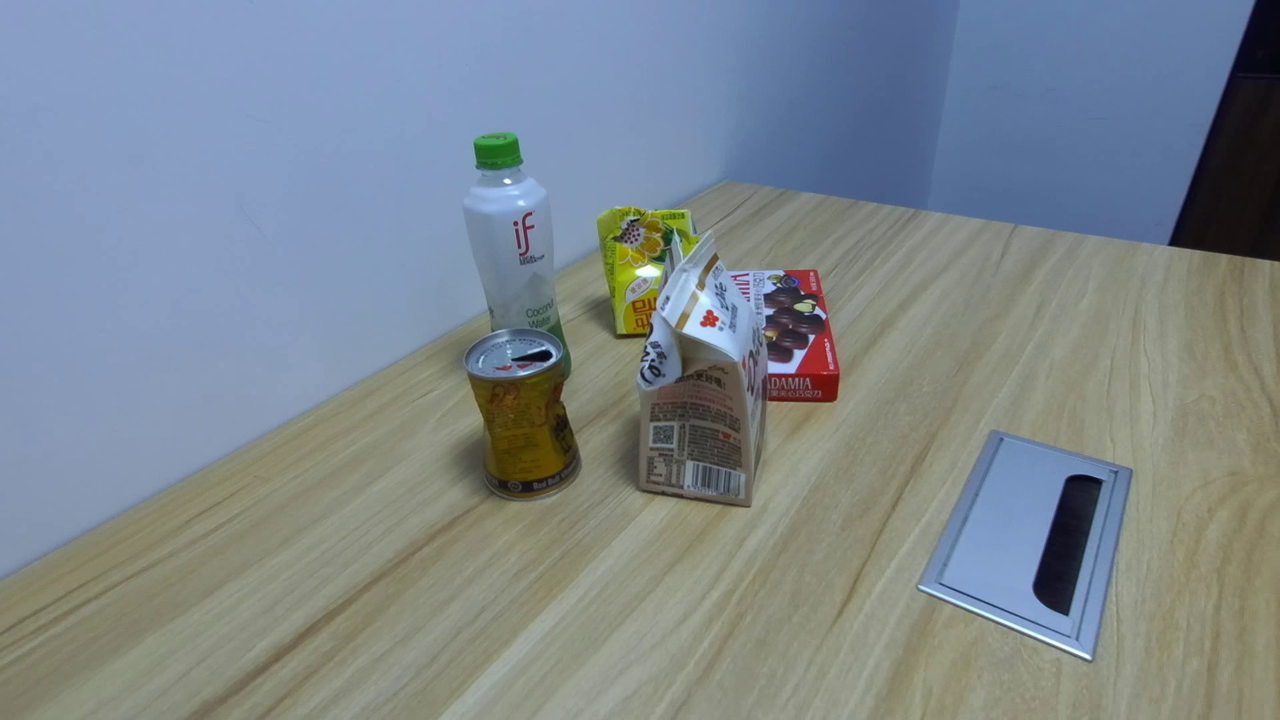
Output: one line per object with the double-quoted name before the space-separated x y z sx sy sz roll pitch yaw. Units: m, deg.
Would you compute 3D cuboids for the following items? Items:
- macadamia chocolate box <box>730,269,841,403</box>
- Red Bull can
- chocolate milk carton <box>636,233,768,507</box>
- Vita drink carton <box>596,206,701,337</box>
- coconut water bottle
"macadamia chocolate box" 0.109 -0.026 0.592 0.095 0.027 0.178 0 32 8
"Red Bull can" -0.074 0.035 0.453 0.072 0.092 0.072 -3 30 2
"chocolate milk carton" 0.037 0.003 0.426 0.073 0.156 0.076 4 32 17
"Vita drink carton" 0.009 -0.078 0.615 0.087 0.108 0.042 0 11 2
"coconut water bottle" -0.093 -0.069 0.528 0.063 0.189 0.063 -4 30 2
